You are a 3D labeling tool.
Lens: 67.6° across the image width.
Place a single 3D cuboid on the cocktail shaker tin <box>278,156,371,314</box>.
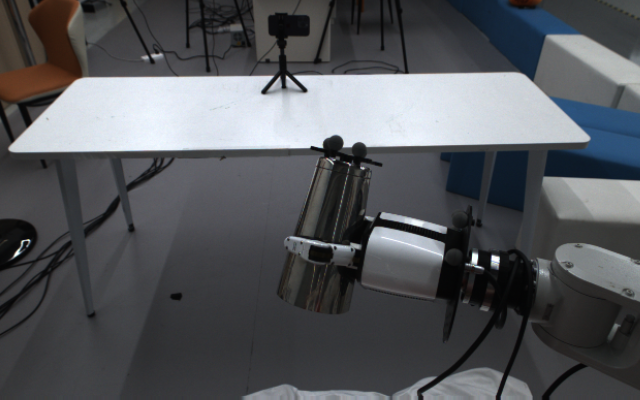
[{"bbox_3d":[0.012,0.040,0.582,0.093,0.170,0.093,13,4,-1],"label":"cocktail shaker tin"}]
